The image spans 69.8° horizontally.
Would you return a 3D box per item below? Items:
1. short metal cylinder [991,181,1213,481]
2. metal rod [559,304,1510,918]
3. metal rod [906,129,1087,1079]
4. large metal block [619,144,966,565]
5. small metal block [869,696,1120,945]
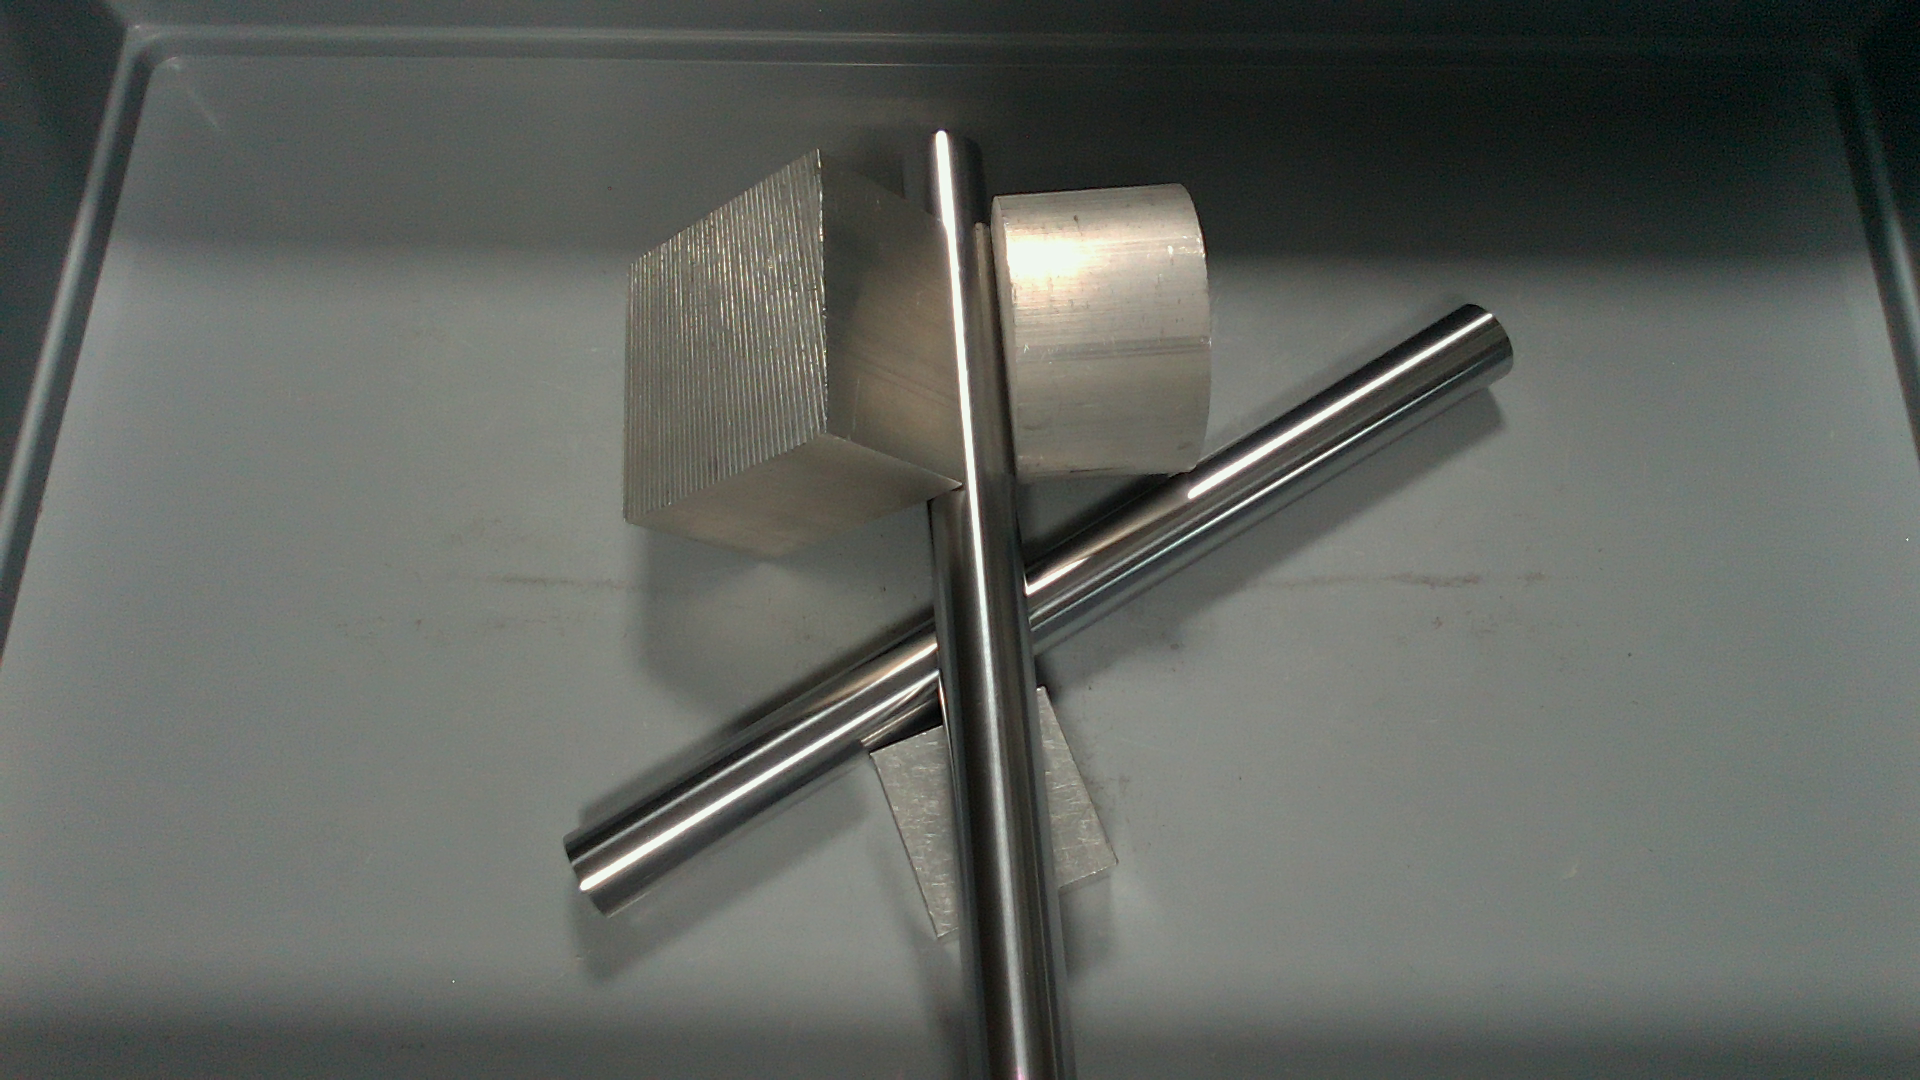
[{"bbox_3d":[0.037,-0.058,0.385,0.050,0.080,0.080,-4,70,-3],"label":"short metal cylinder"},{"bbox_3d":[0.029,0.014,0.388,0.300,0.025,0.025,-30,73,-10],"label":"metal rod"},{"bbox_3d":[0.008,0.025,0.357,0.025,0.025,0.300,-4,69,-2],"label":"metal rod"},{"bbox_3d":[-0.047,-0.047,0.377,0.080,0.050,0.080,-20,65,37],"label":"large metal block"},{"bbox_3d":[0.009,0.074,0.367,0.050,0.025,0.050,-20,71,-7],"label":"small metal block"}]
